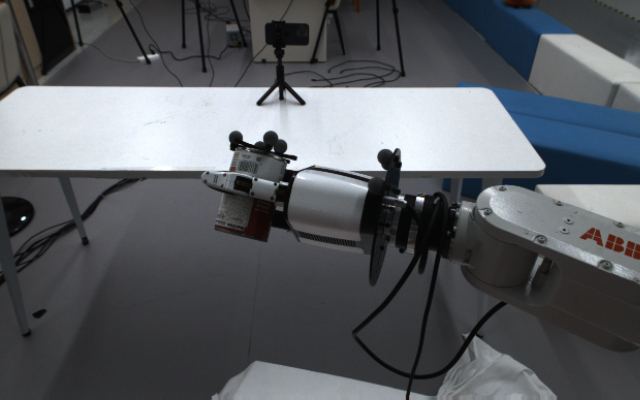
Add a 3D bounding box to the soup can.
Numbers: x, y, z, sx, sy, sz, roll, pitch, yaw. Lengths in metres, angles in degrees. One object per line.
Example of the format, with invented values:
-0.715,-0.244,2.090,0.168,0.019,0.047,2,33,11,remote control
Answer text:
-0.082,-0.005,0.585,0.067,0.101,0.067,13,-6,1,soup can
